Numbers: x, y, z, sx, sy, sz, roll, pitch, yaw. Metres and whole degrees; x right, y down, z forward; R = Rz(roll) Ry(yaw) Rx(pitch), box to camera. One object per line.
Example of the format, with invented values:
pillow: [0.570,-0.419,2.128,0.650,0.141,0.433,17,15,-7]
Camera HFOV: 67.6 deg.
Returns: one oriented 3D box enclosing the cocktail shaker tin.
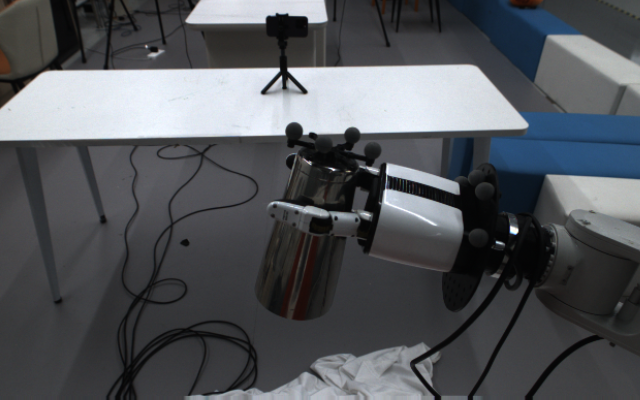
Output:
cocktail shaker tin: [-0.006,0.031,0.524,0.093,0.170,0.093,12,25,-6]
